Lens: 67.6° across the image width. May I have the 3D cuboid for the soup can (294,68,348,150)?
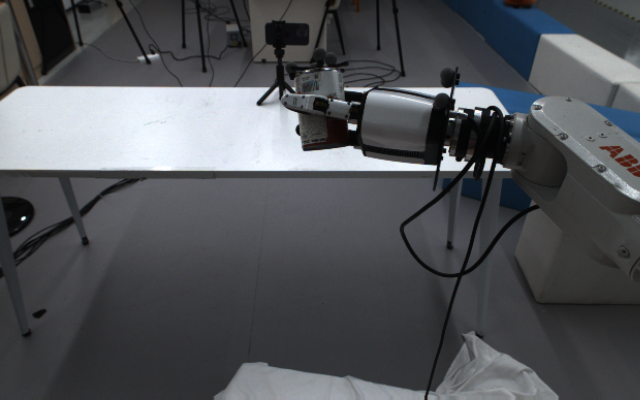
[{"bbox_3d":[0.004,-0.121,0.658,0.067,0.101,0.067,-7,3,0],"label":"soup can"}]
